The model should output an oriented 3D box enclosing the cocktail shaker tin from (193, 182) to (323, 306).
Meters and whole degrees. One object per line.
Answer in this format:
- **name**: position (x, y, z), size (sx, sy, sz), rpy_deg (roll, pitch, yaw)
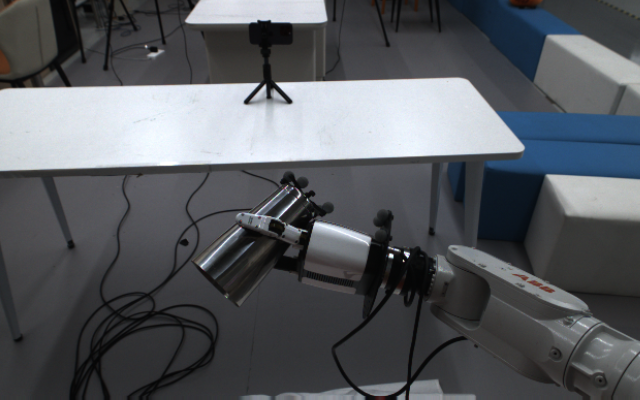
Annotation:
- **cocktail shaker tin**: position (-0.087, 0.052, 0.683), size (0.093, 0.093, 0.170), rpy_deg (32, 65, 35)
